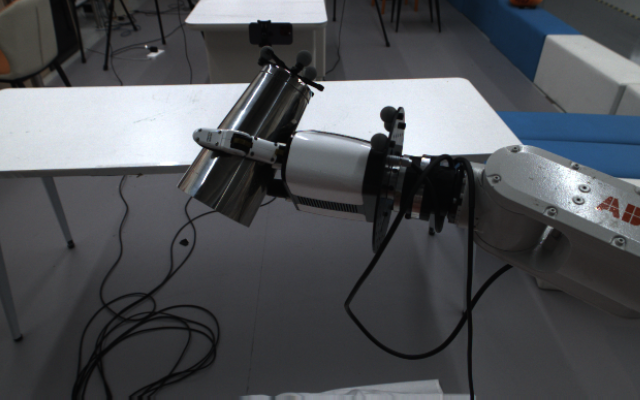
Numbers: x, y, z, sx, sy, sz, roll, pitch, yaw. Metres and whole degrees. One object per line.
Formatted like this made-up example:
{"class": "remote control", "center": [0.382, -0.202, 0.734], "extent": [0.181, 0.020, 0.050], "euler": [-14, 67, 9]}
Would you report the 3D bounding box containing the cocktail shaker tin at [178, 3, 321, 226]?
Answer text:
{"class": "cocktail shaker tin", "center": [-0.079, -0.068, 0.554], "extent": [0.093, 0.093, 0.170], "euler": [26, 83, 30]}
